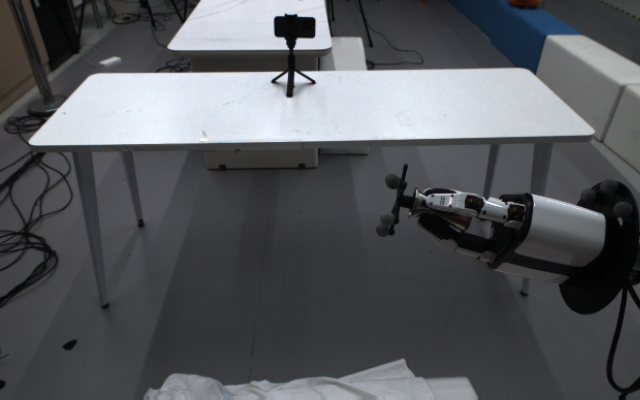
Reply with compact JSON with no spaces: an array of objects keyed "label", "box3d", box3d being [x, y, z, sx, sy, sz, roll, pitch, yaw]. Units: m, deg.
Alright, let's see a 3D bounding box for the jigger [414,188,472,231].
[{"label":"jigger","box3d":[0.151,0.007,0.582,0.071,0.043,0.043,13,36,3]}]
